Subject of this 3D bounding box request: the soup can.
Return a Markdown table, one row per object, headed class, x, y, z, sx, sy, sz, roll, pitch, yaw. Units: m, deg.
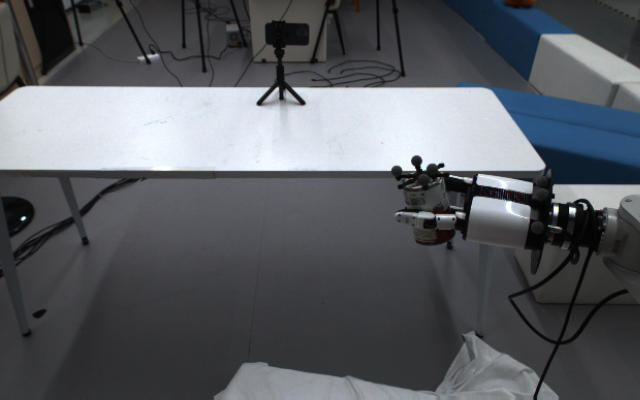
| class | x | y | z | sx | sy | sz | roll | pitch | yaw |
| --- | --- | --- | --- | --- | --- | --- | --- | --- | --- |
| soup can | 0.173 | 0.012 | 0.767 | 0.067 | 0.101 | 0.067 | -16 | 22 | 7 |
